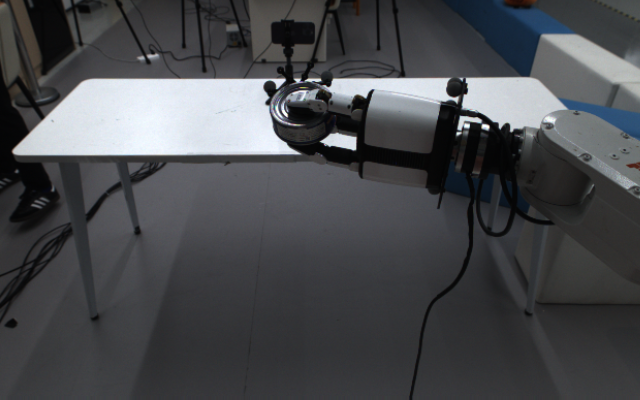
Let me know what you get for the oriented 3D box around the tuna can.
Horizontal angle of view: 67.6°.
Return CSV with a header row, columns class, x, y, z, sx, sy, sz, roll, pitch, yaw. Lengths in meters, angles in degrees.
class,x,y,z,sx,sy,sz,roll,pitch,yaw
tuna can,-0.018,-0.109,0.633,0.085,0.034,0.085,-3,59,5
